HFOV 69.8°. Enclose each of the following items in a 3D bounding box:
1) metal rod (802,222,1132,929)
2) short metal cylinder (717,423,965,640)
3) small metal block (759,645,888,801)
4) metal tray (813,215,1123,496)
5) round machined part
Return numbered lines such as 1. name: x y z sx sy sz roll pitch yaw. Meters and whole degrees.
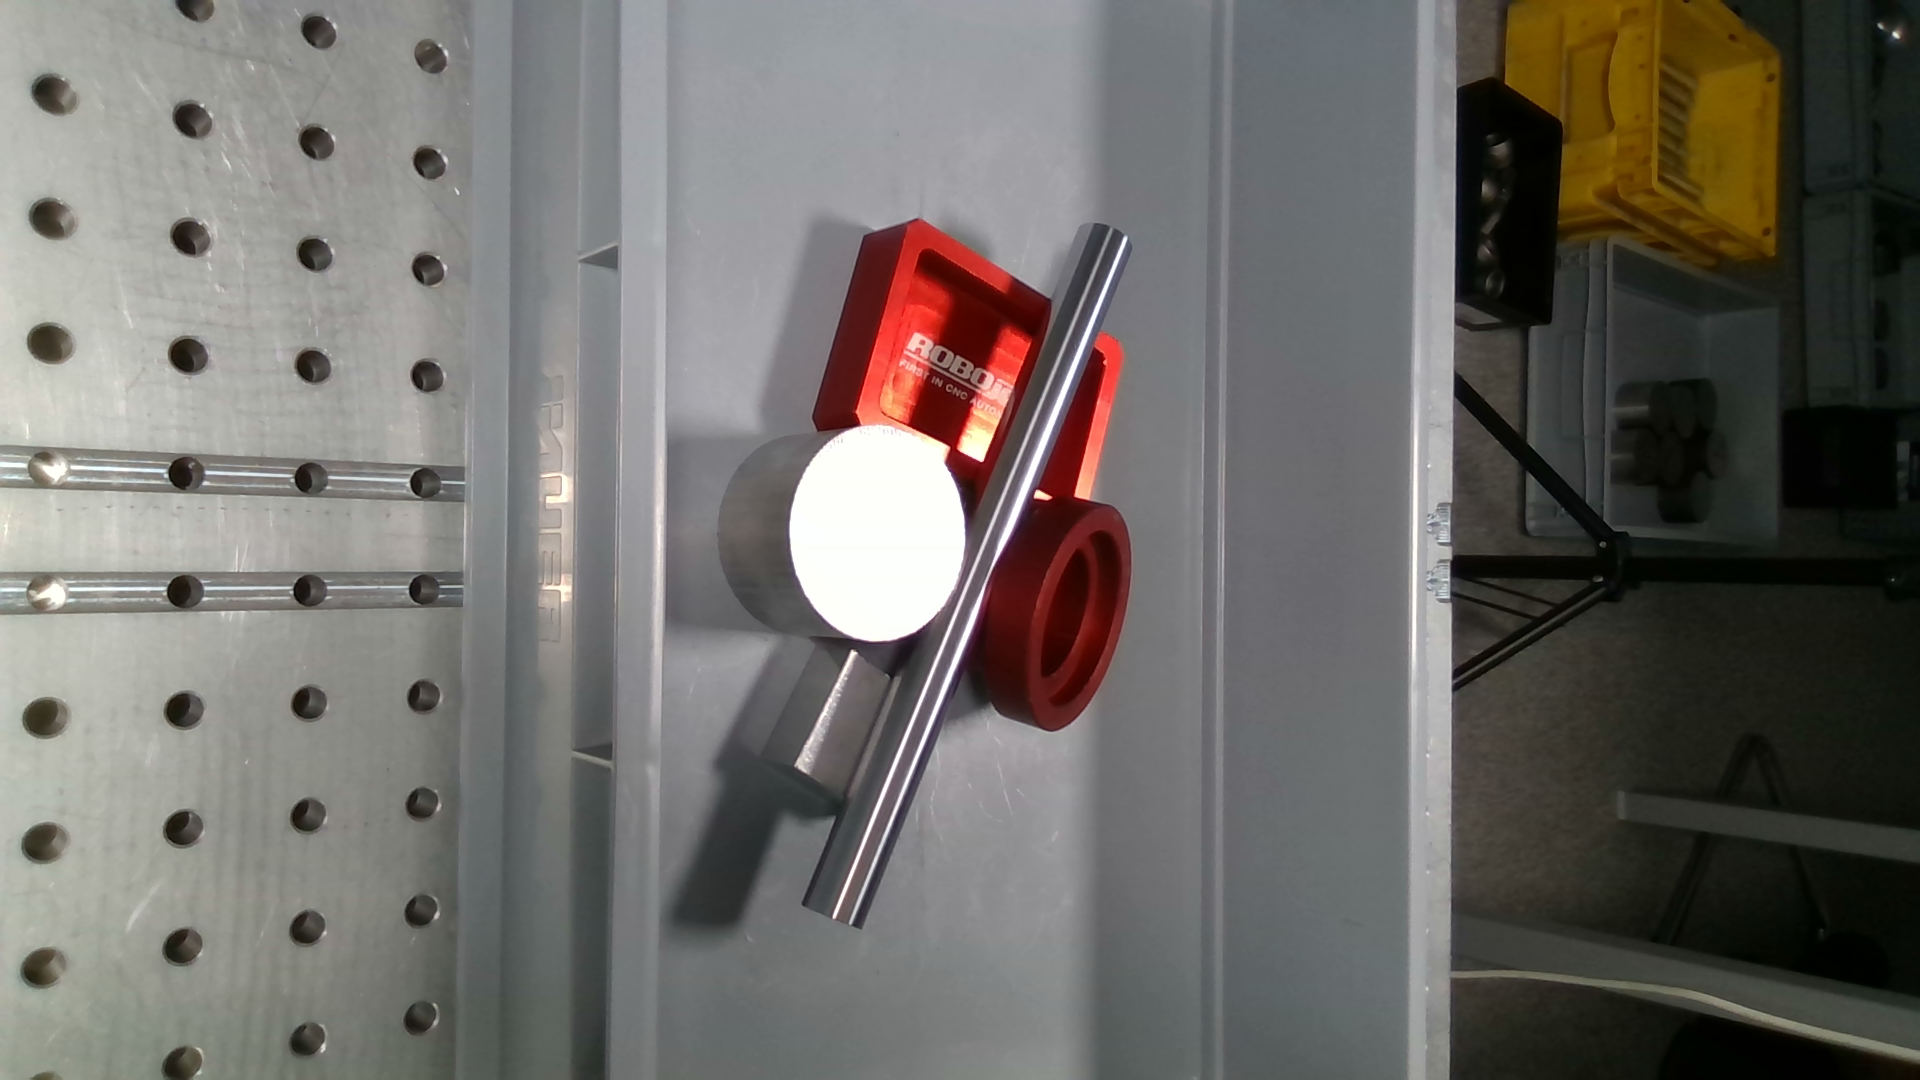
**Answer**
1. metal rod: 0.007 0.006 0.550 0.025 0.025 0.299 33 72 -35
2. short metal cylinder: -0.045 -0.003 0.526 0.080 0.050 0.080 0 90 -40
3. small metal block: -0.043 0.076 0.545 0.050 0.025 0.050 39 66 -33
4. metal tray: 0.008 -0.067 0.583 0.130 0.030 0.090 23 75 -38
5. round machined part: 0.033 0.028 0.583 0.098 0.042 0.098 -37 134 -51
